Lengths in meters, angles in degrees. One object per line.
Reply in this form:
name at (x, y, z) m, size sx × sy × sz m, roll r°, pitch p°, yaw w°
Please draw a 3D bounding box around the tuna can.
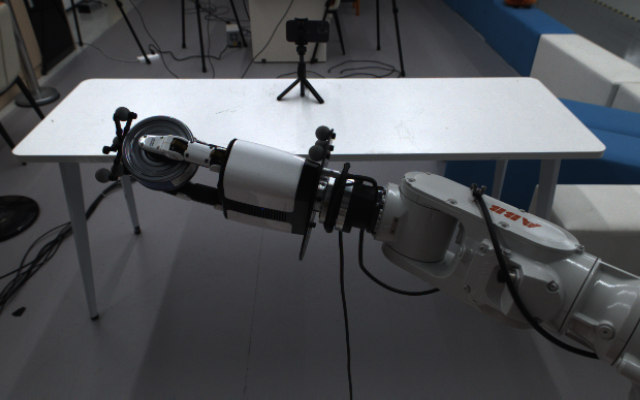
tuna can at (-0.185, -0.052, 0.572) m, size 0.085 × 0.034 × 0.085 m, roll 1°, pitch 74°, yaw -4°
